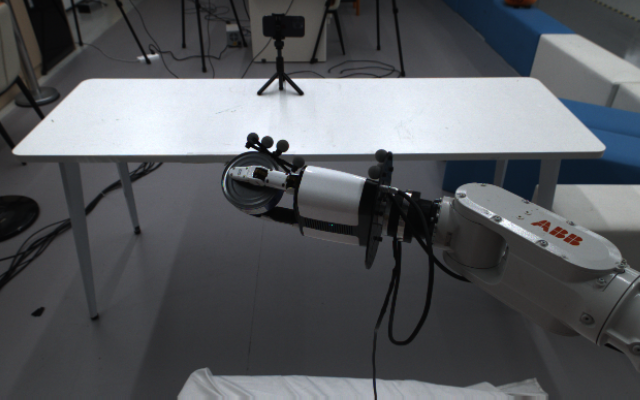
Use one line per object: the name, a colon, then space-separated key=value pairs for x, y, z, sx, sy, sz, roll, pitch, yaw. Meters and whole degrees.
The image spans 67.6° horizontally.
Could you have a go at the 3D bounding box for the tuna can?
tuna can: x=-0.093 y=-0.023 z=0.687 sx=0.085 sy=0.034 sz=0.085 roll=-2 pitch=71 yaw=6
